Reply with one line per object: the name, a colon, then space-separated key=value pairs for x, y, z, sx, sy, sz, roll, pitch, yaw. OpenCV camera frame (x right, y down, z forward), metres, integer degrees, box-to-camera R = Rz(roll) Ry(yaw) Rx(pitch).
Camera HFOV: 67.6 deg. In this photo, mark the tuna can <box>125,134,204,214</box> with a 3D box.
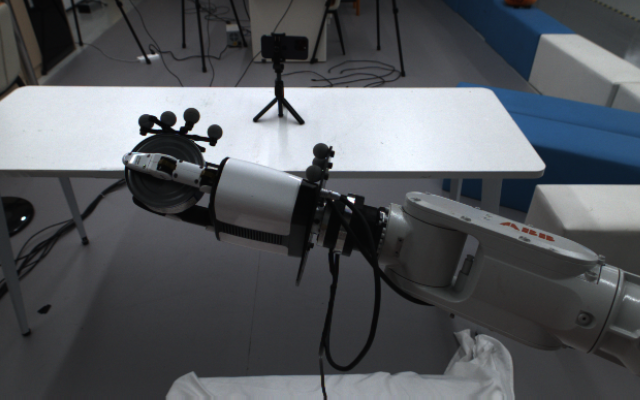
tuna can: x=-0.168 y=-0.029 z=0.540 sx=0.085 sy=0.034 sz=0.085 roll=1 pitch=73 yaw=-3
